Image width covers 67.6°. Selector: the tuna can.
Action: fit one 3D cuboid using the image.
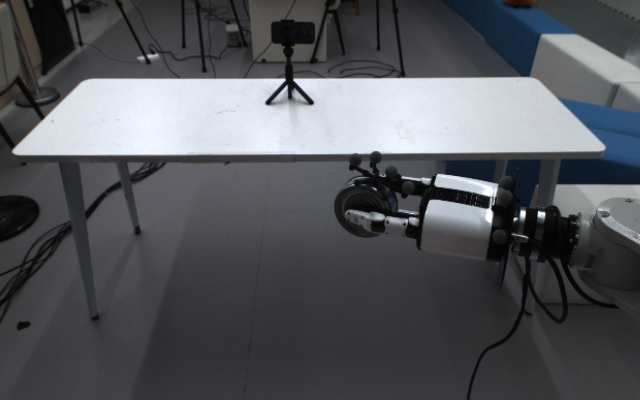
[{"bbox_3d":[0.067,0.016,0.678,0.085,0.085,0.034,15,31,18],"label":"tuna can"}]
